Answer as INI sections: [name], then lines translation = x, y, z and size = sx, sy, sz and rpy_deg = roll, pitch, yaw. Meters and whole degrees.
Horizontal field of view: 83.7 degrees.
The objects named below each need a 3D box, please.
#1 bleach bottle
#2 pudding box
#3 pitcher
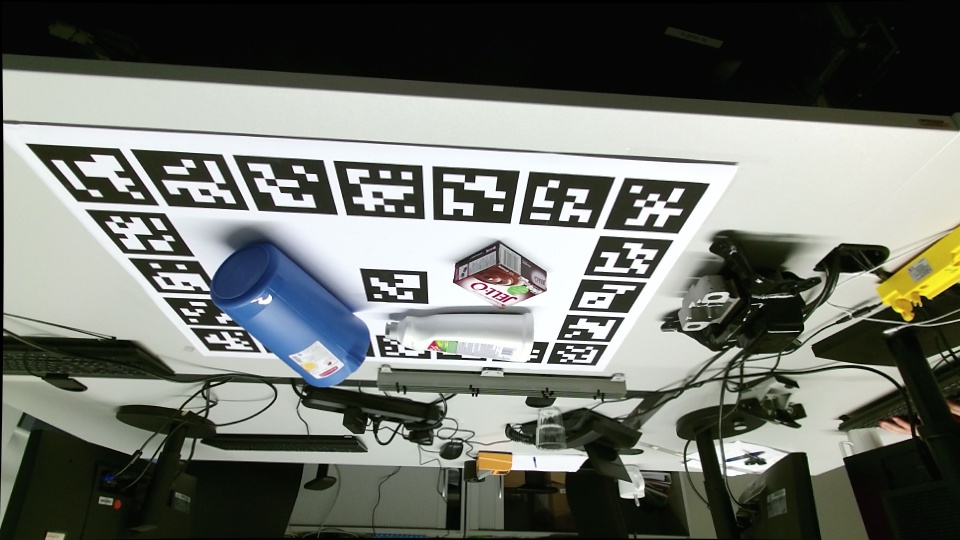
[bleach bottle]
translation = -0.037, 0.119, 0.927
size = 0.252, 0.067, 0.103
rpy_deg = 2, 140, 2
[pudding box]
translation = 0.033, 0.016, 0.791
size = 0.090, 0.038, 0.114
rpy_deg = -21, 138, 37
[pitcher]
translation = -0.292, 0.059, 0.820
size = 0.189, 0.133, 0.243
rpy_deg = 20, 153, 37
